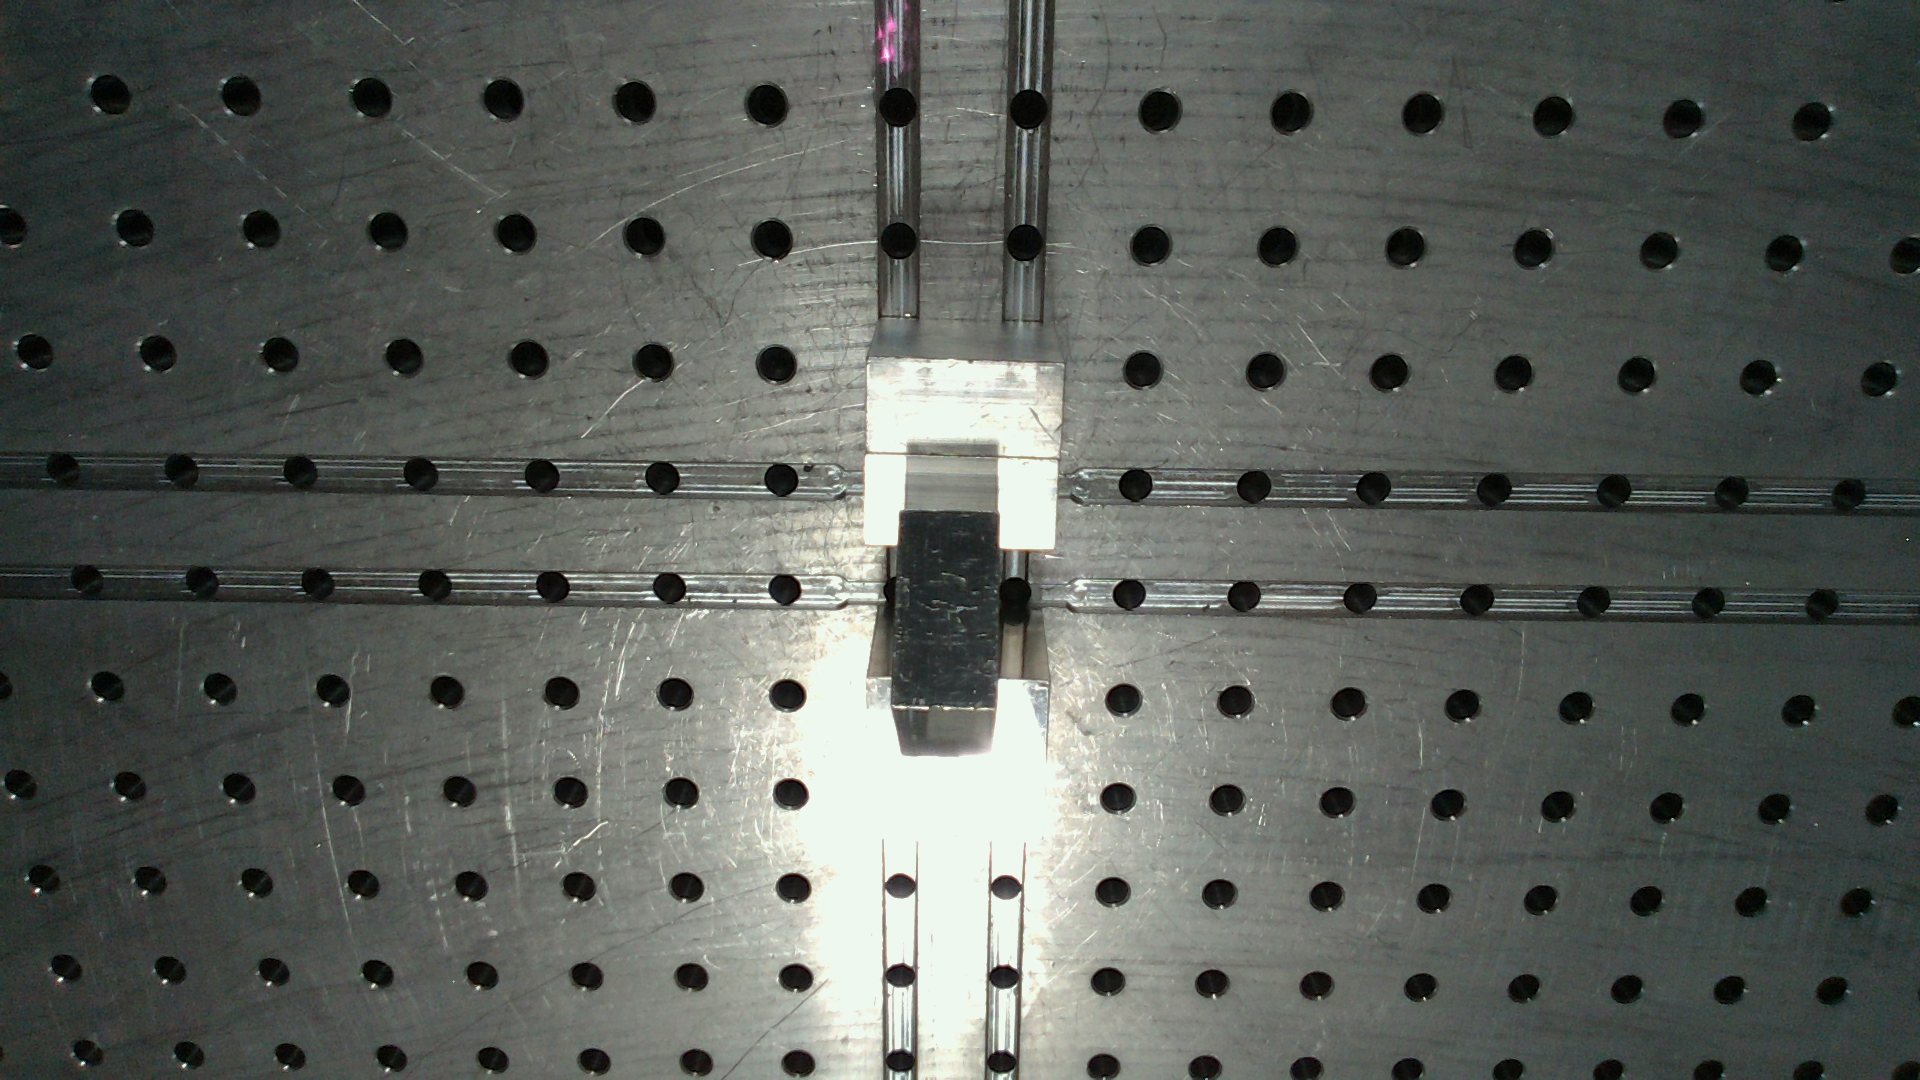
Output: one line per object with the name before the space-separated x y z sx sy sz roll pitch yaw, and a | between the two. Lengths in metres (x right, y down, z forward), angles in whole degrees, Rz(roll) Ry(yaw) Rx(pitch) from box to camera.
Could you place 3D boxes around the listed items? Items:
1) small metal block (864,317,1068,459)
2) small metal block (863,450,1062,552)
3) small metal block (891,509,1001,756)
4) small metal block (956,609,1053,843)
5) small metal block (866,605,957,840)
small metal block | 0.001 -0.042 0.367 0.050 0.050 0.025 2 110 -1
small metal block | 0.000 -0.018 0.376 0.050 0.050 0.025 2 110 -1
small metal block | -0.003 0.025 0.348 0.025 0.050 0.050 1 68 1
small metal block | 0.012 0.053 0.401 0.025 0.050 0.050 1 110 0
small metal block | -0.013 0.052 0.402 0.025 0.050 0.050 1 110 0
